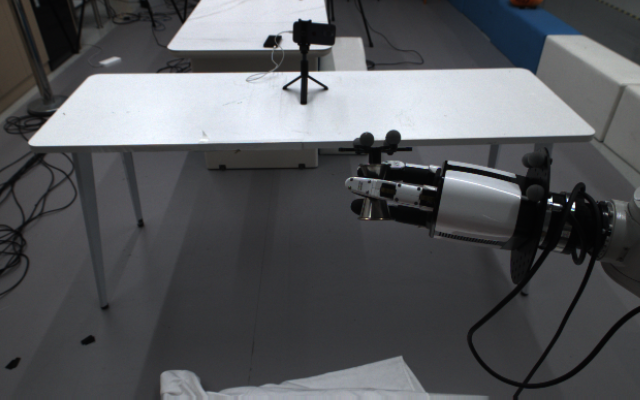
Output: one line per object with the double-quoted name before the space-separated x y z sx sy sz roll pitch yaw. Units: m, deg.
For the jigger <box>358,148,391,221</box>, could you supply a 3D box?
"jigger" 0.067 -0.011 0.595 0.043 0.071 0.043 -1 2 0
